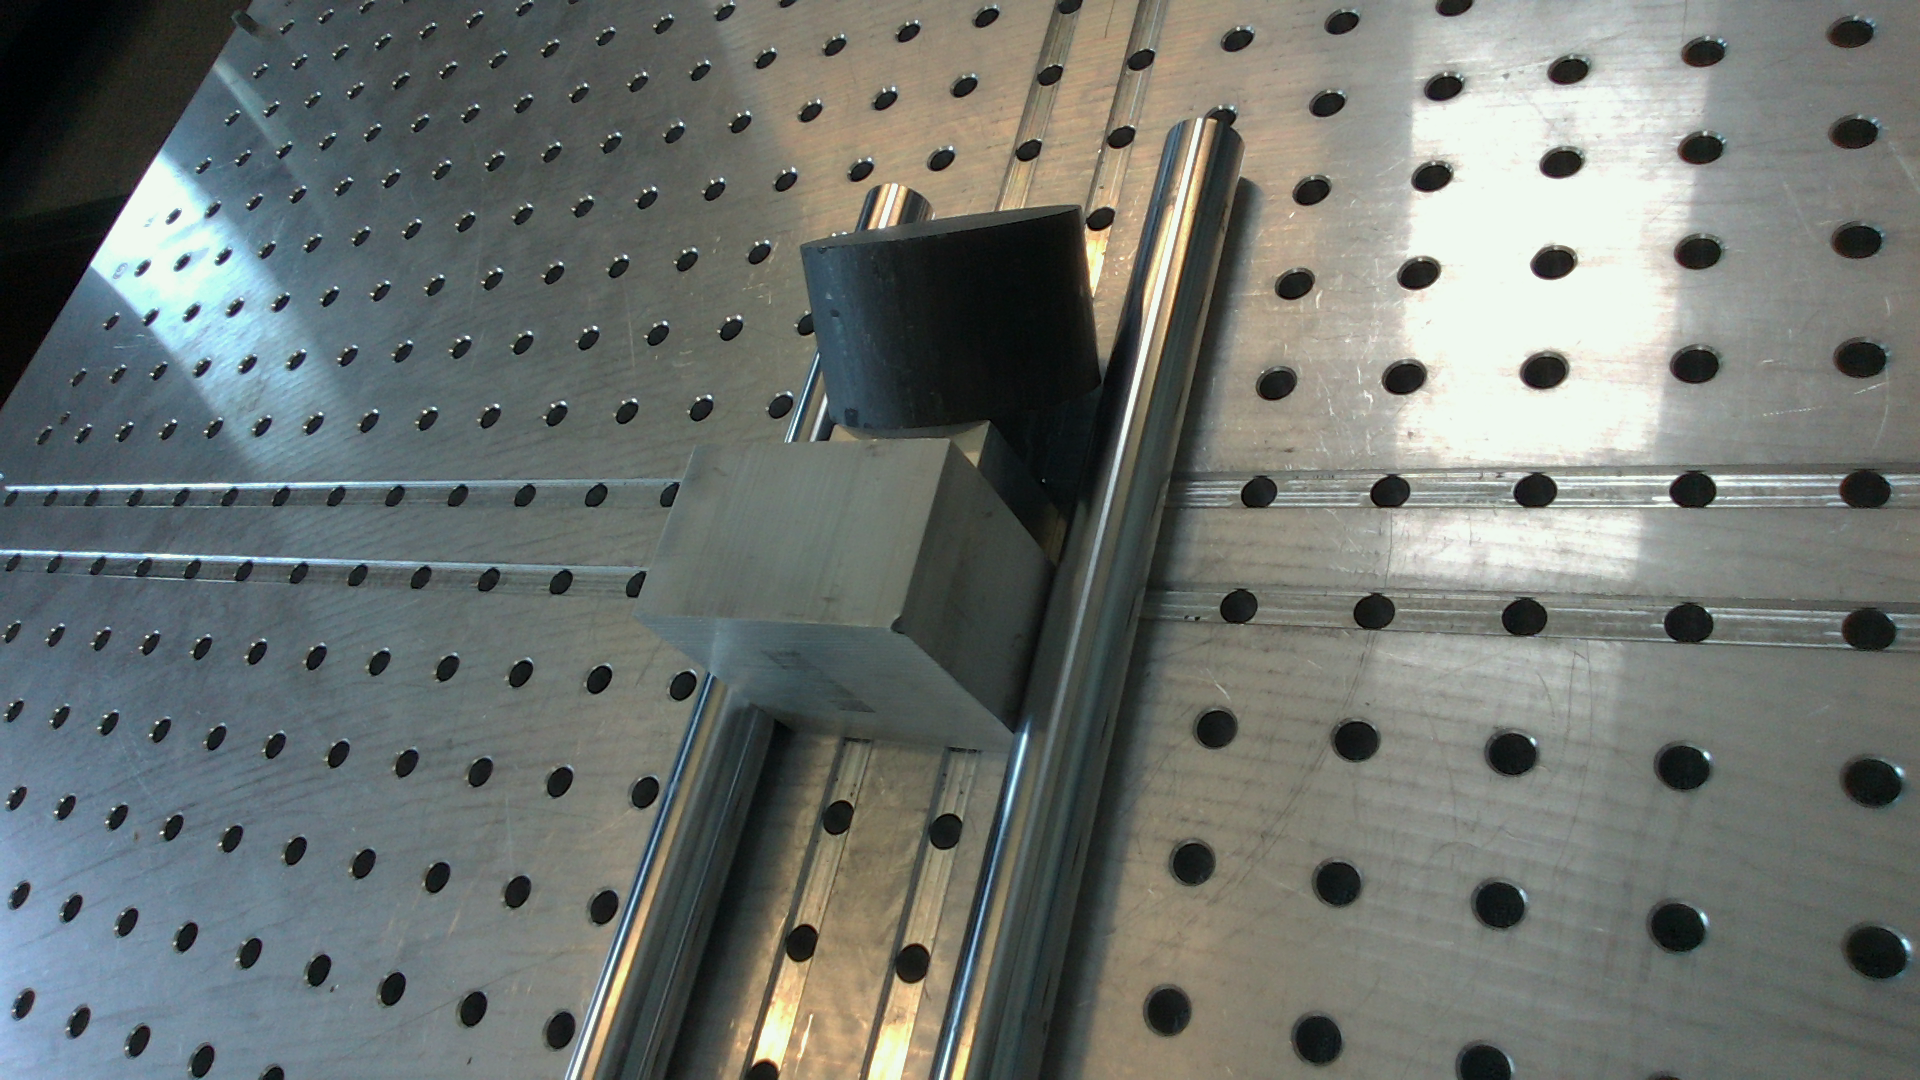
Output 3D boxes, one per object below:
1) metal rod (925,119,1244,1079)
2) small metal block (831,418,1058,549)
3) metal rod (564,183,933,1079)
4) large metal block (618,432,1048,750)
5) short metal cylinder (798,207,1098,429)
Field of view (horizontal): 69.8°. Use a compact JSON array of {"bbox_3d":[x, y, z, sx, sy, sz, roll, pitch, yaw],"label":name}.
[{"bbox_3d":[0.038,0.009,0.370,0.025,0.025,0.300,2,62,29],"label":"metal rod"},{"bbox_3d":[-0.007,-0.010,0.390,0.050,0.050,0.025,2,62,29],"label":"small metal block"},{"bbox_3d":[-0.056,0.016,0.417,0.025,0.025,0.300,1,62,29],"label":"metal rod"},{"bbox_3d":[-0.027,0.015,0.363,0.080,0.080,0.050,1,62,29],"label":"large metal block"},{"bbox_3d":[-0.003,-0.066,0.395,0.080,0.050,0.080,-7,16,2],"label":"short metal cylinder"}]
